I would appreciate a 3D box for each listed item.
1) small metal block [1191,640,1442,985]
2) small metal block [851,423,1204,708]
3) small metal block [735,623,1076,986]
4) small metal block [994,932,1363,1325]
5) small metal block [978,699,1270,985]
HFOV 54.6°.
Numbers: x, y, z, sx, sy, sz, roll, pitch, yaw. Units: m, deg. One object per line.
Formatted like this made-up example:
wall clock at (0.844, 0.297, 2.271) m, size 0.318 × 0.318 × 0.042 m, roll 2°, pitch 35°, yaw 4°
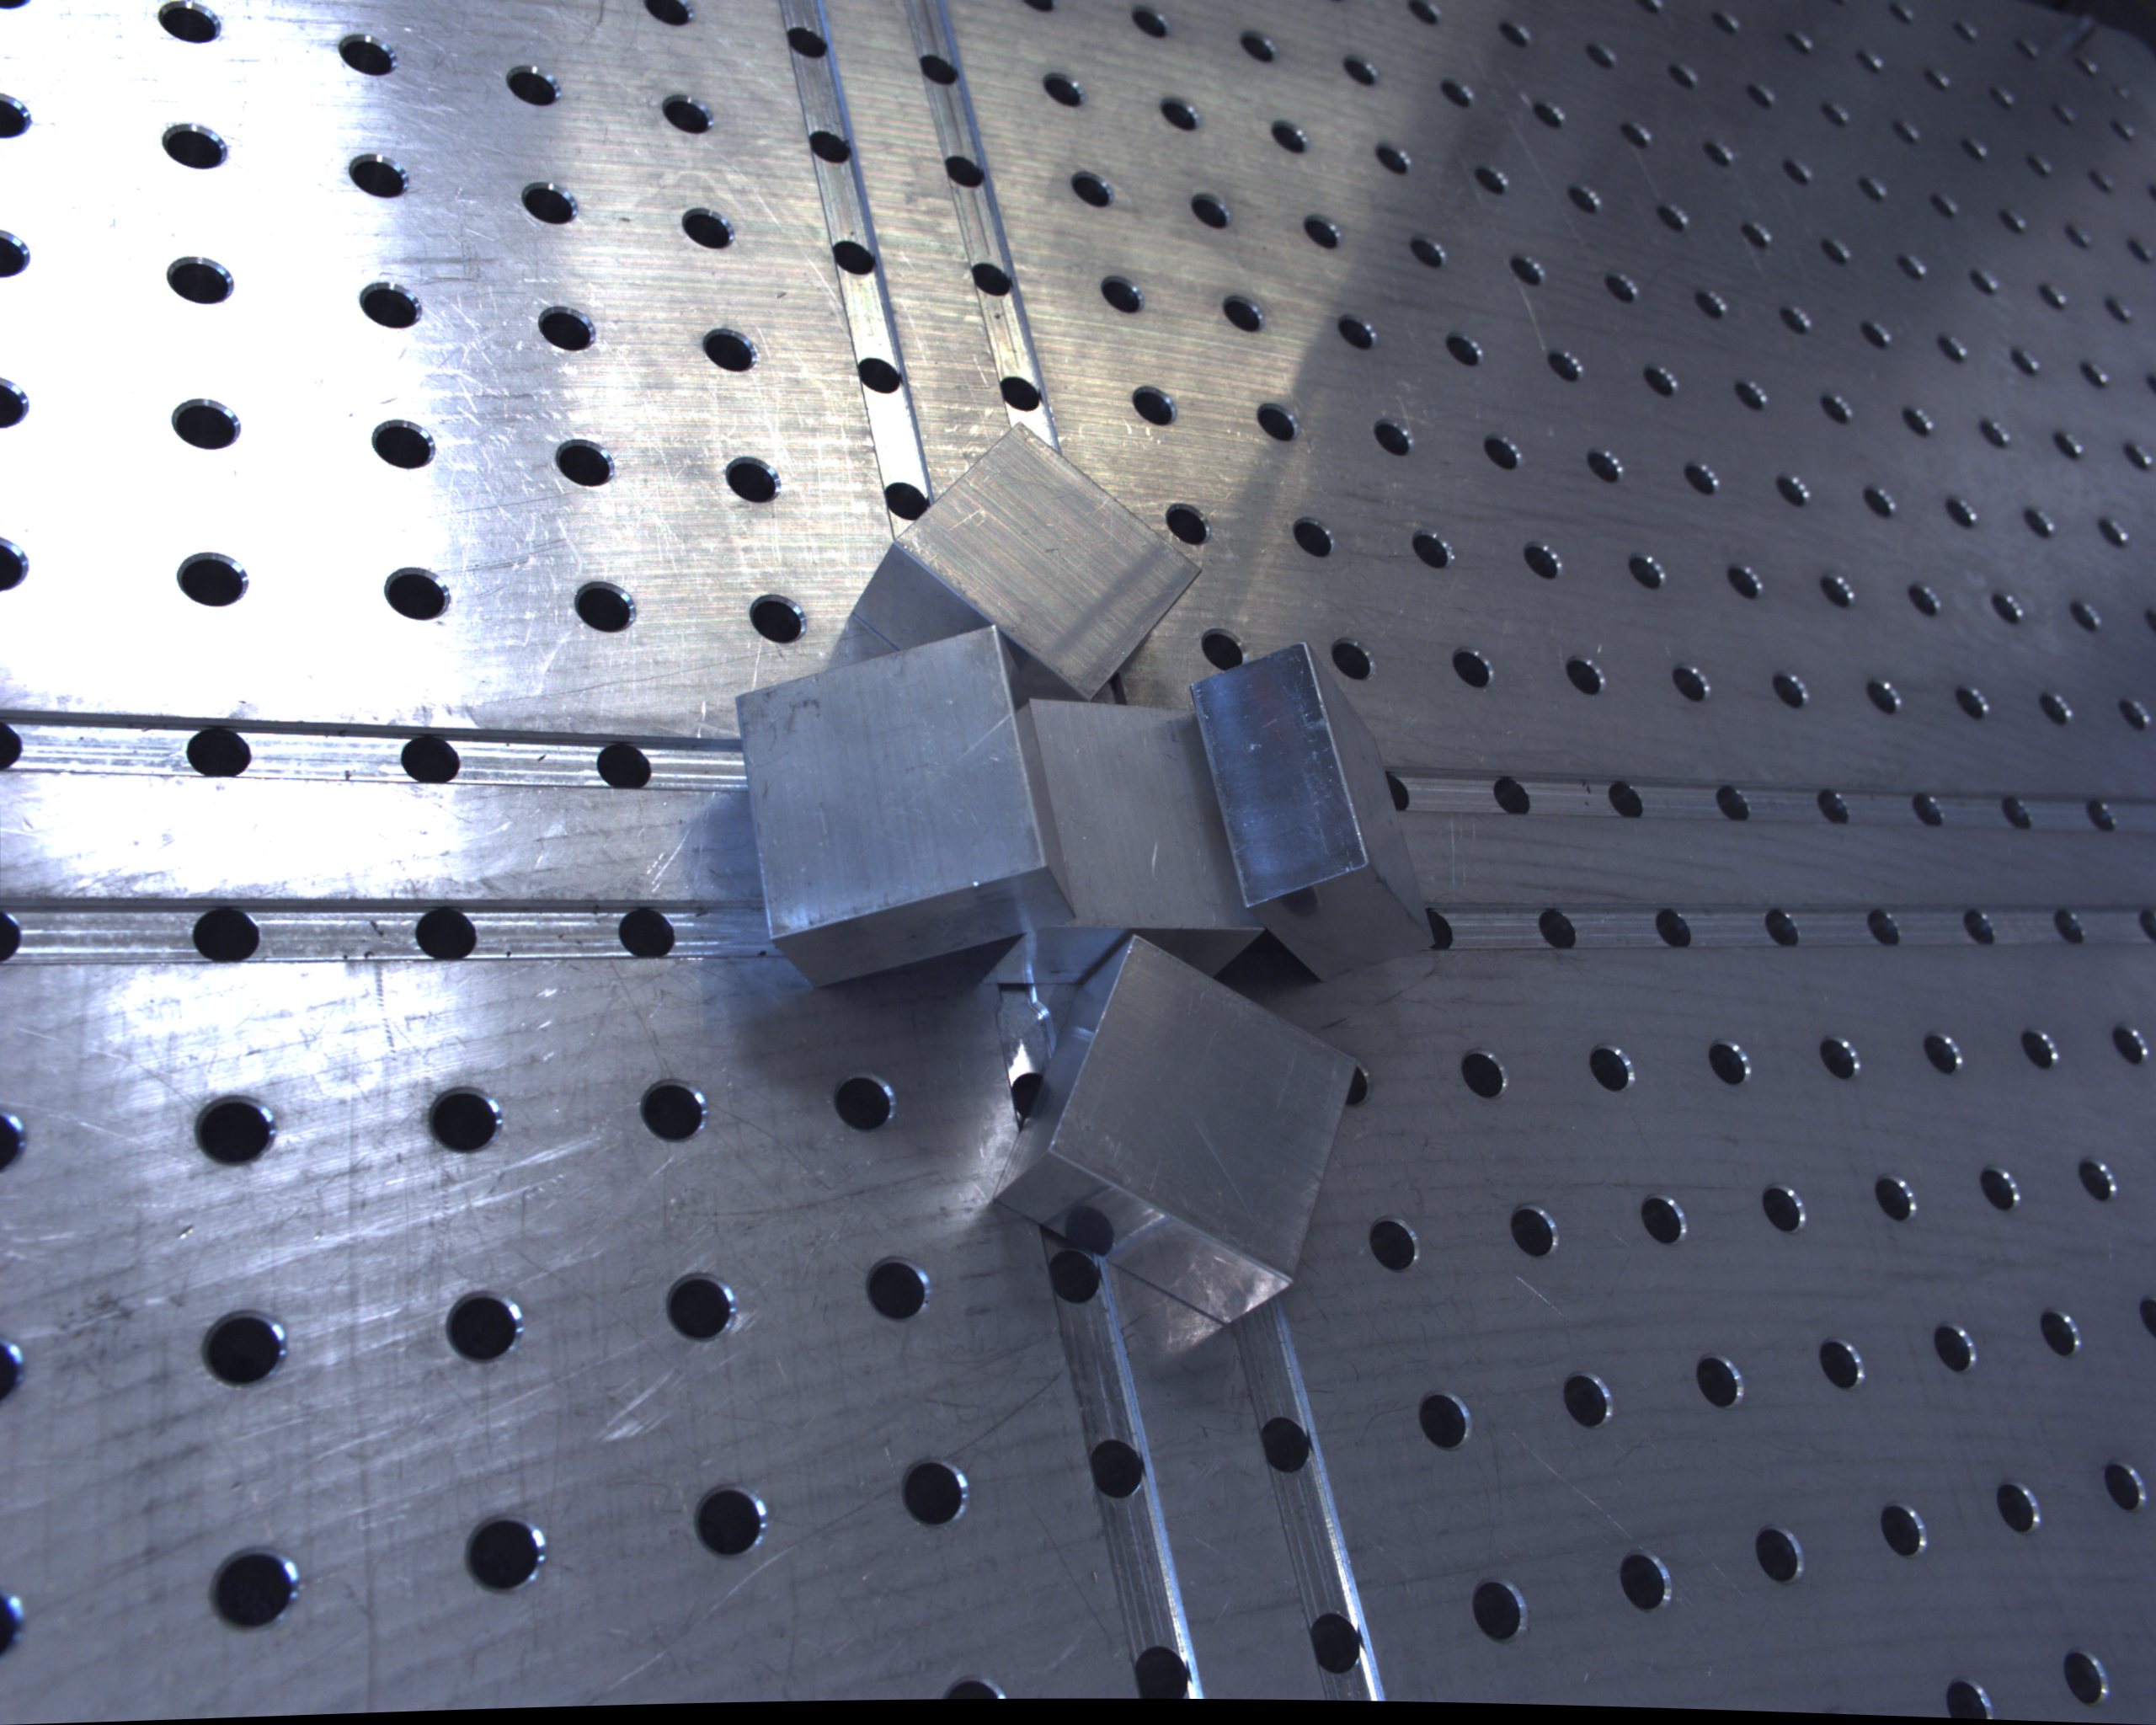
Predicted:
small metal block at (0.048, -0.009, 0.422) m, size 0.050 × 0.025 × 0.050 m, roll 39°, pitch 34°, yaw -58°
small metal block at (-0.010, -0.056, 0.437) m, size 0.050 × 0.025 × 0.050 m, roll 39°, pitch 50°, yaw -1°
small metal block at (-0.032, -0.010, 0.381) m, size 0.050 × 0.025 × 0.050 m, roll -14°, pitch 65°, yaw 5°
small metal block at (0.019, 0.049, 0.387) m, size 0.050 × 0.025 × 0.050 m, roll 29°, pitch 53°, yaw -8°
small metal block at (0.004, -0.004, 0.412) m, size 0.050 × 0.025 × 0.050 m, roll 1°, pitch 60°, yaw -28°
